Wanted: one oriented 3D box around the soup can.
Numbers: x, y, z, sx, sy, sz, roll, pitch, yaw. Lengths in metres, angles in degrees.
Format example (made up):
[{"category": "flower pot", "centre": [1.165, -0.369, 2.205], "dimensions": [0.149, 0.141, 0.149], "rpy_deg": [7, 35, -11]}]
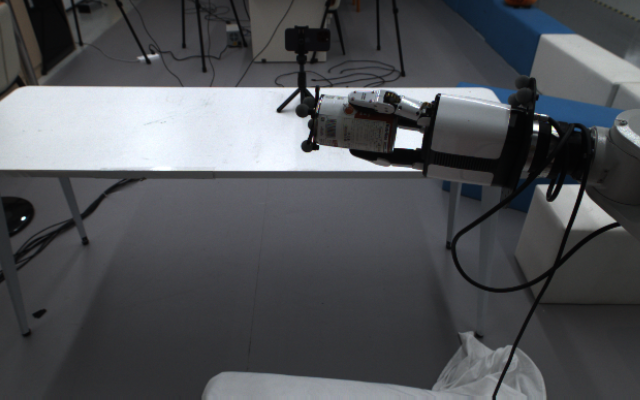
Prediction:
[{"category": "soup can", "centre": [0.050, -0.100, 0.634], "dimensions": [0.101, 0.067, 0.067], "rpy_deg": [8, 35, 9]}]
